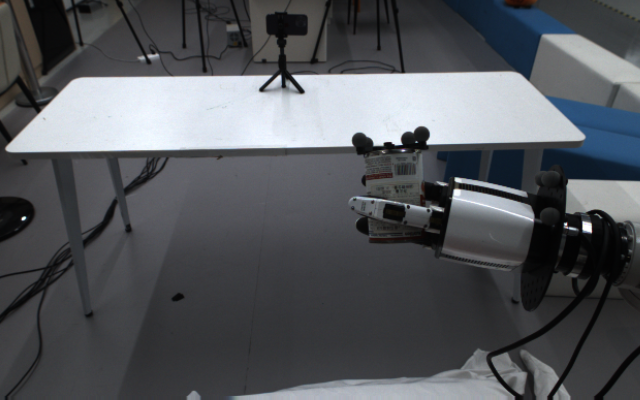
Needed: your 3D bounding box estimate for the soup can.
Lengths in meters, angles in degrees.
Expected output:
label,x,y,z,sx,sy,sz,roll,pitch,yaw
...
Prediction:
label,x,y,z,sx,sy,sz,roll,pitch,yaw
soup can,0.088,-0.003,0.551,0.067,0.101,0.067,-3,-1,0
